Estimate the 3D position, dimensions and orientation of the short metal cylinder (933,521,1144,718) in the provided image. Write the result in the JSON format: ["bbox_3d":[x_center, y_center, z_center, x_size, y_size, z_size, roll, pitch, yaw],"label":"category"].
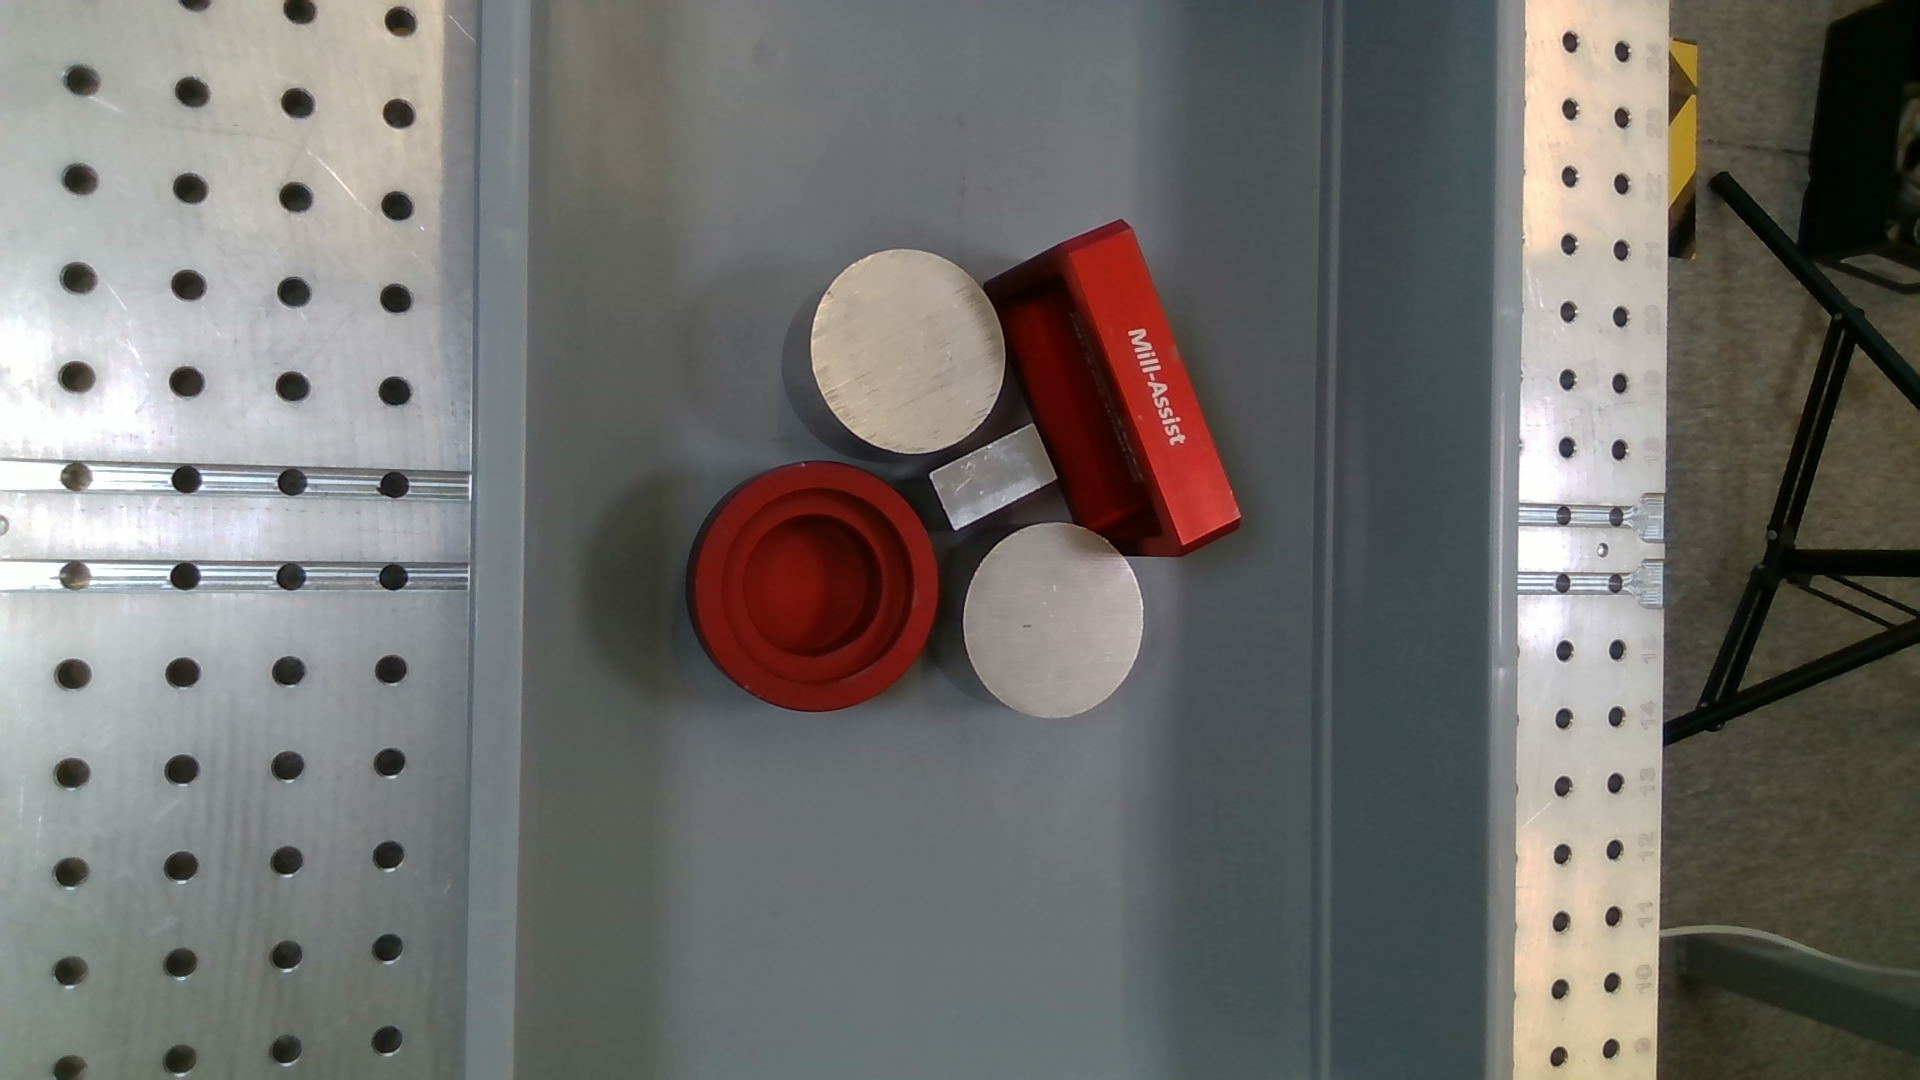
[{"bbox_3d":[0.030,0.032,0.583,0.080,0.050,0.080,0,90,-20],"label":"short metal cylinder"}]

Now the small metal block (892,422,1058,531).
[{"bbox_3d":[0.005,-0.026,0.573,0.050,0.050,0.025,-27,99,-18],"label":"small metal block"}]

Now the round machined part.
[{"bbox_3d":[-0.061,0.018,0.553,0.098,0.042,0.098,0,90,-20],"label":"round machined part"}]

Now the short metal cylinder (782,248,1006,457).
[{"bbox_3d":[-0.028,-0.074,0.561,0.080,0.050,0.080,0,90,-20],"label":"short metal cylinder"}]

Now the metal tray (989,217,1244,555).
[{"bbox_3d":[0.062,-0.059,0.572,0.030,0.090,0.130,-25,98,-19],"label":"metal tray"}]
